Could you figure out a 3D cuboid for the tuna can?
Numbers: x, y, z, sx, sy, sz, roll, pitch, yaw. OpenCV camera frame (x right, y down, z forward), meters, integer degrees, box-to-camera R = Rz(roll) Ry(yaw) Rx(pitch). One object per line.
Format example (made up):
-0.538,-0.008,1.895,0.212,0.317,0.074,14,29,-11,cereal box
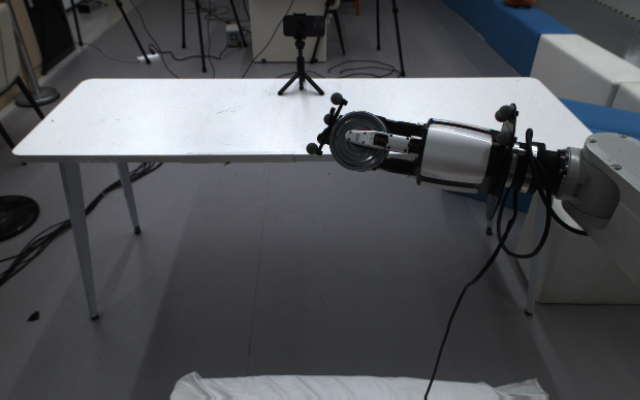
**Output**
0.058,-0.086,0.694,0.085,0.085,0.034,8,5,9,tuna can
